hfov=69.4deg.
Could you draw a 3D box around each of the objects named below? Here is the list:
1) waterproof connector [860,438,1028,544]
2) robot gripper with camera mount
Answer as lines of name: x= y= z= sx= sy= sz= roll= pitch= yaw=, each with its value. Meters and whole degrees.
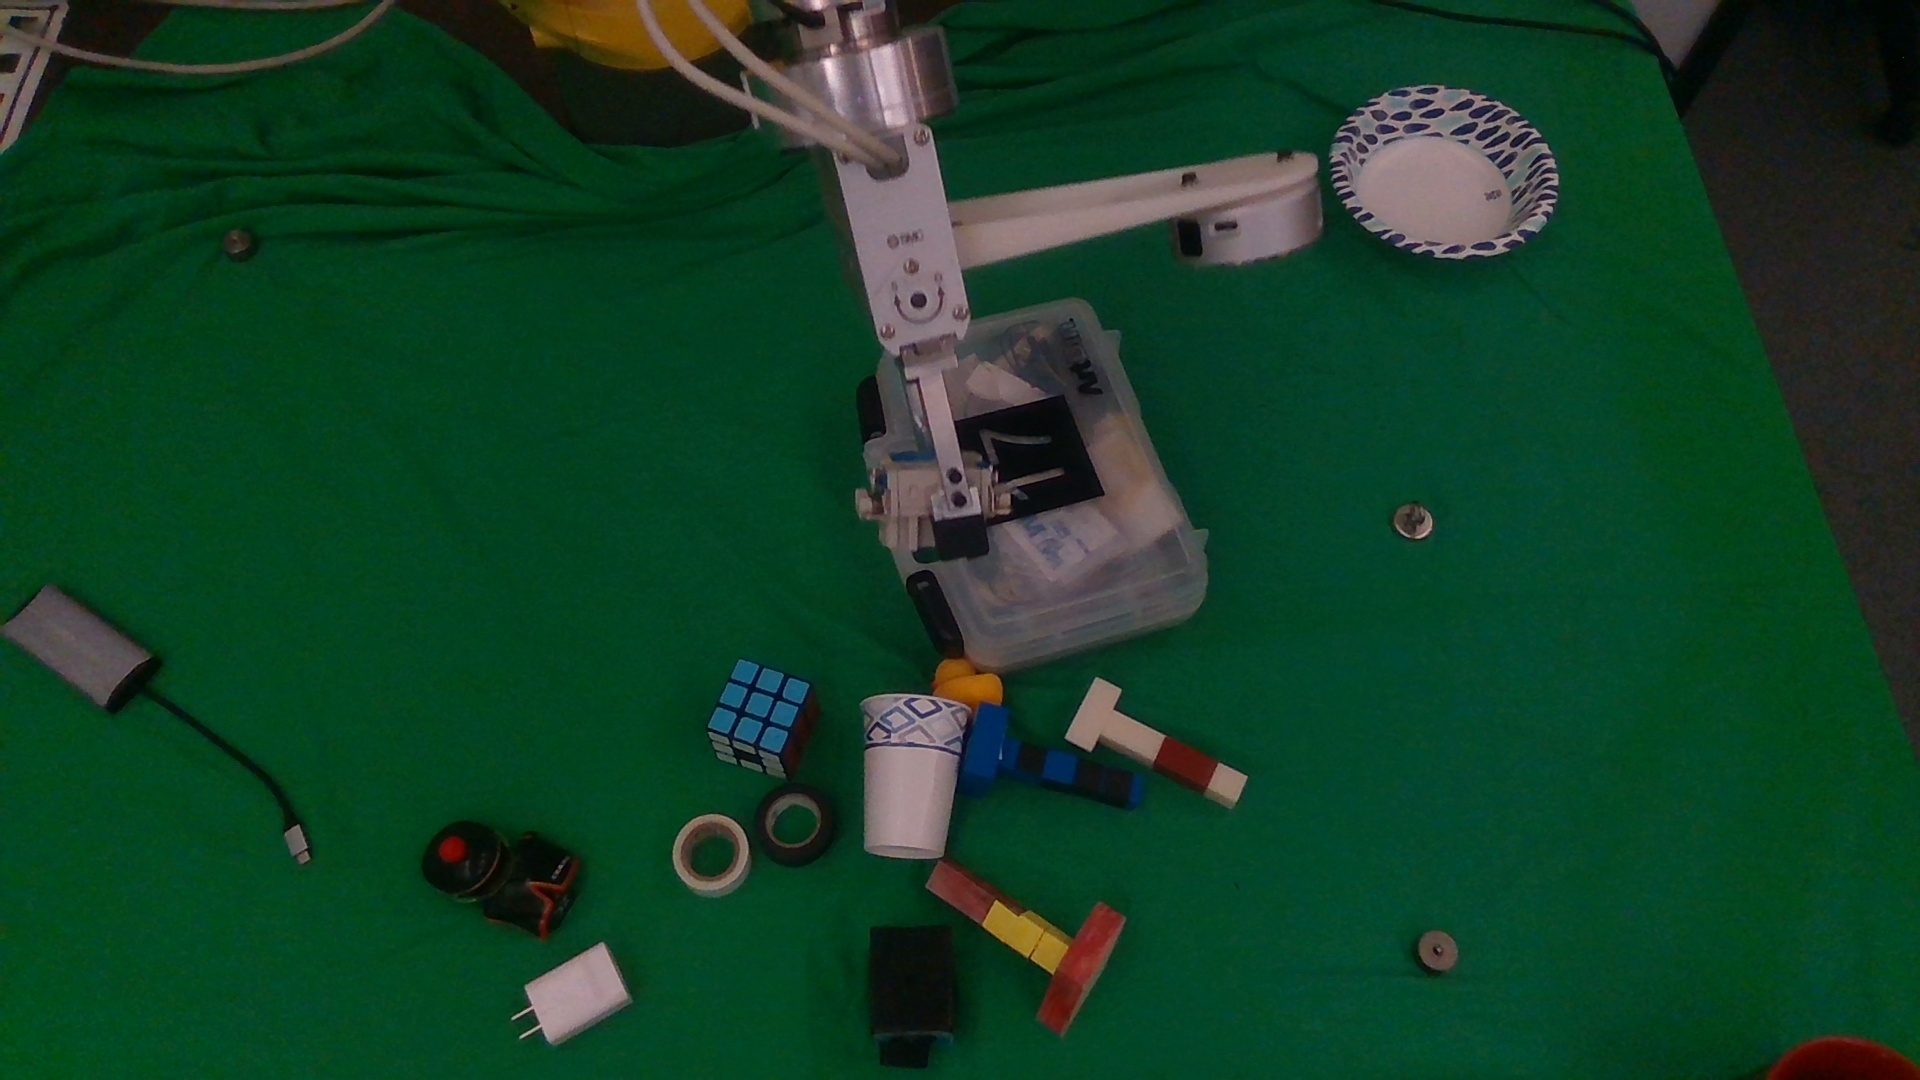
waterproof connector: x=-0.007 y=-0.020 z=0.566 sx=0.065 sy=0.037 sz=0.035 roll=-3 pitch=18 yaw=-11
robot gripper with camera mount: x=0.058 y=-0.092 z=0.556 sx=0.193 sy=0.158 sz=0.119 roll=-12 pitch=24 yaw=-7
